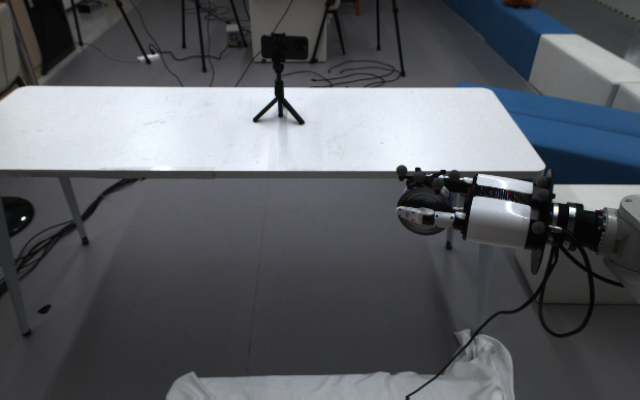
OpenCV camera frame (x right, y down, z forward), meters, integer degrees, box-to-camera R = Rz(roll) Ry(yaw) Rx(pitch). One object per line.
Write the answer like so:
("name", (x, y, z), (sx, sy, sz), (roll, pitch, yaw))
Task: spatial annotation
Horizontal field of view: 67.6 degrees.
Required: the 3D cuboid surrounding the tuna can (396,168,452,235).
("tuna can", (0.169, 0.008, 0.767), (0.085, 0.085, 0.034), (13, 29, 16))
